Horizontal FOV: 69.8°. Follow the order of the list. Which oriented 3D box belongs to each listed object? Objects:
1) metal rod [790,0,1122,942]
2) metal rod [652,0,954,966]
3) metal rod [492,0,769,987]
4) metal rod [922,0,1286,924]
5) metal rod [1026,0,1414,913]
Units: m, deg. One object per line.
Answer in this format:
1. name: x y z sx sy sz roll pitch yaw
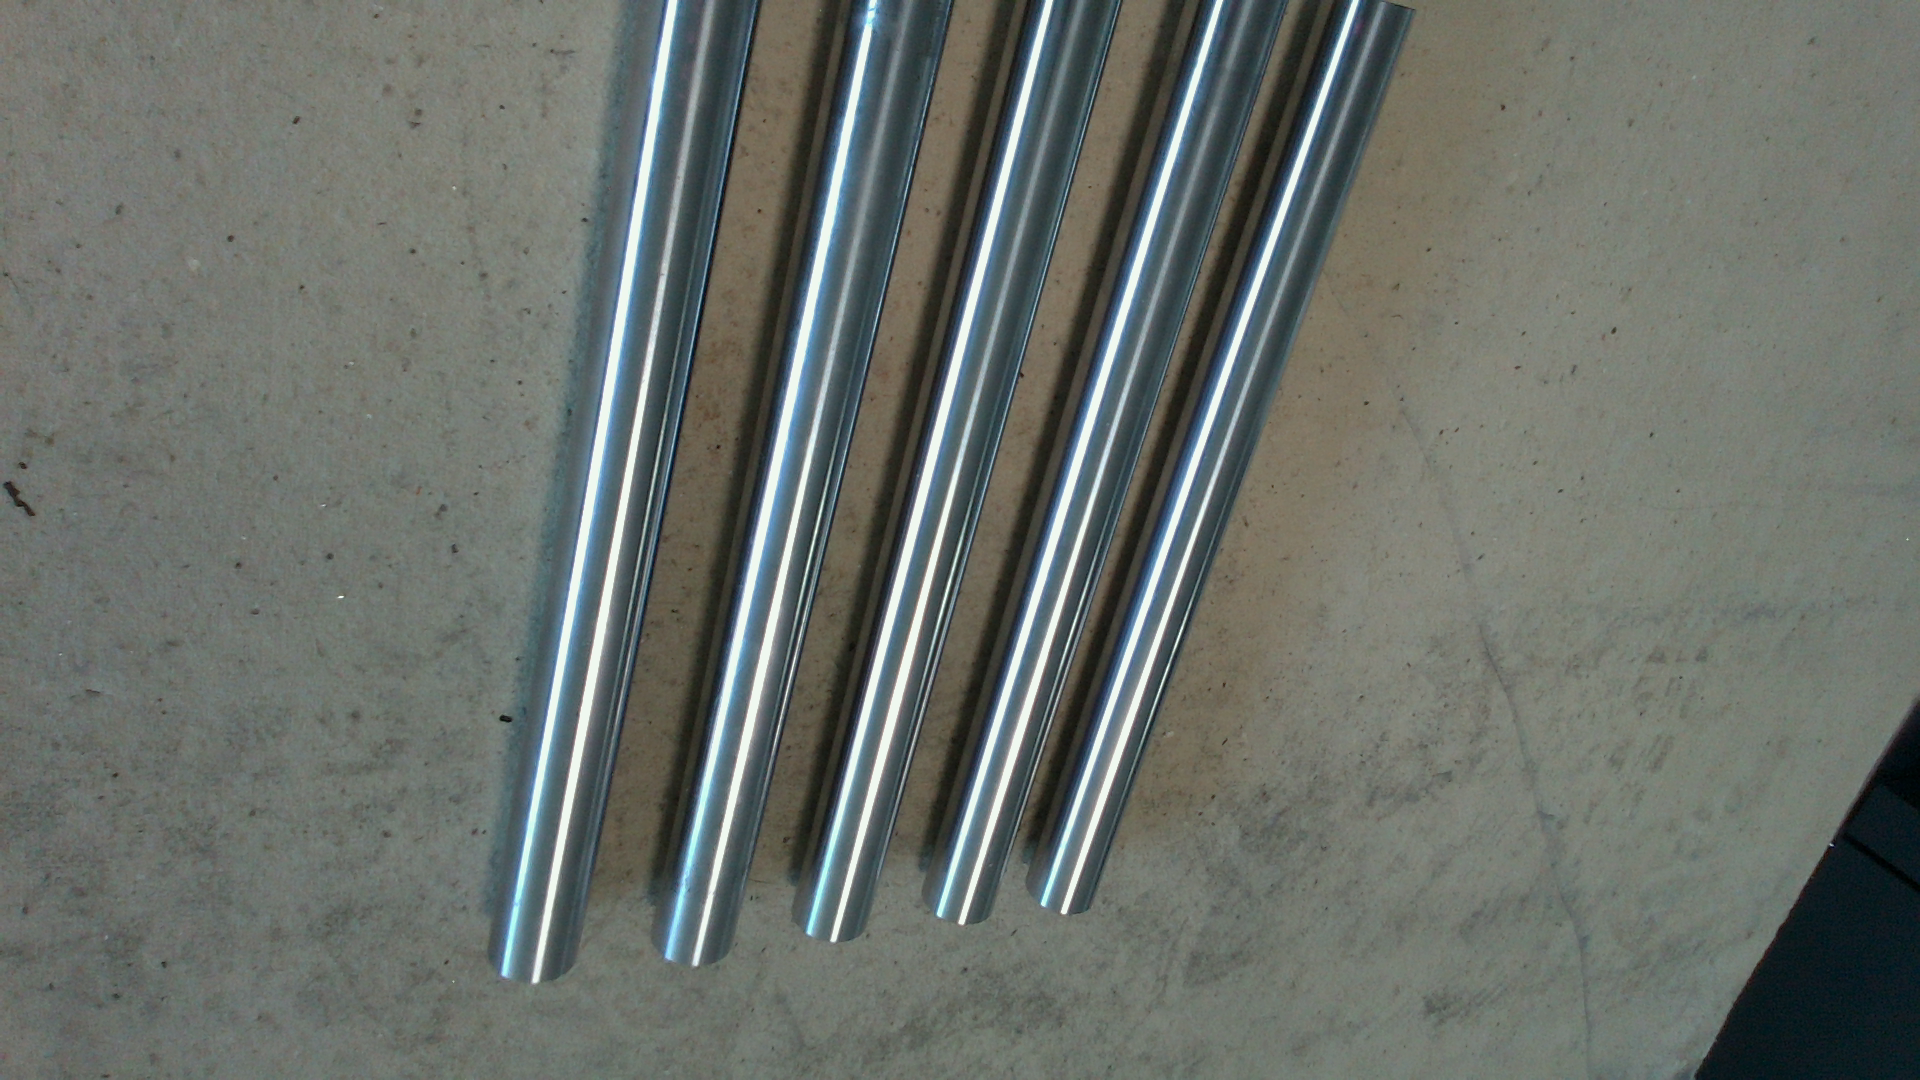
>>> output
1. metal rod: -0.006 -0.012 0.378 0.025 0.025 0.300 1 118 -29
2. metal rod: -0.044 -0.012 0.358 0.025 0.025 0.300 1 118 -29
3. metal rod: -0.083 -0.013 0.335 0.025 0.025 0.300 2 117 -29
4. metal rod: 0.035 -0.012 0.401 0.025 0.025 0.300 1 118 -29
5. metal rod: 0.071 -0.010 0.421 0.025 0.025 0.300 1 118 -29
